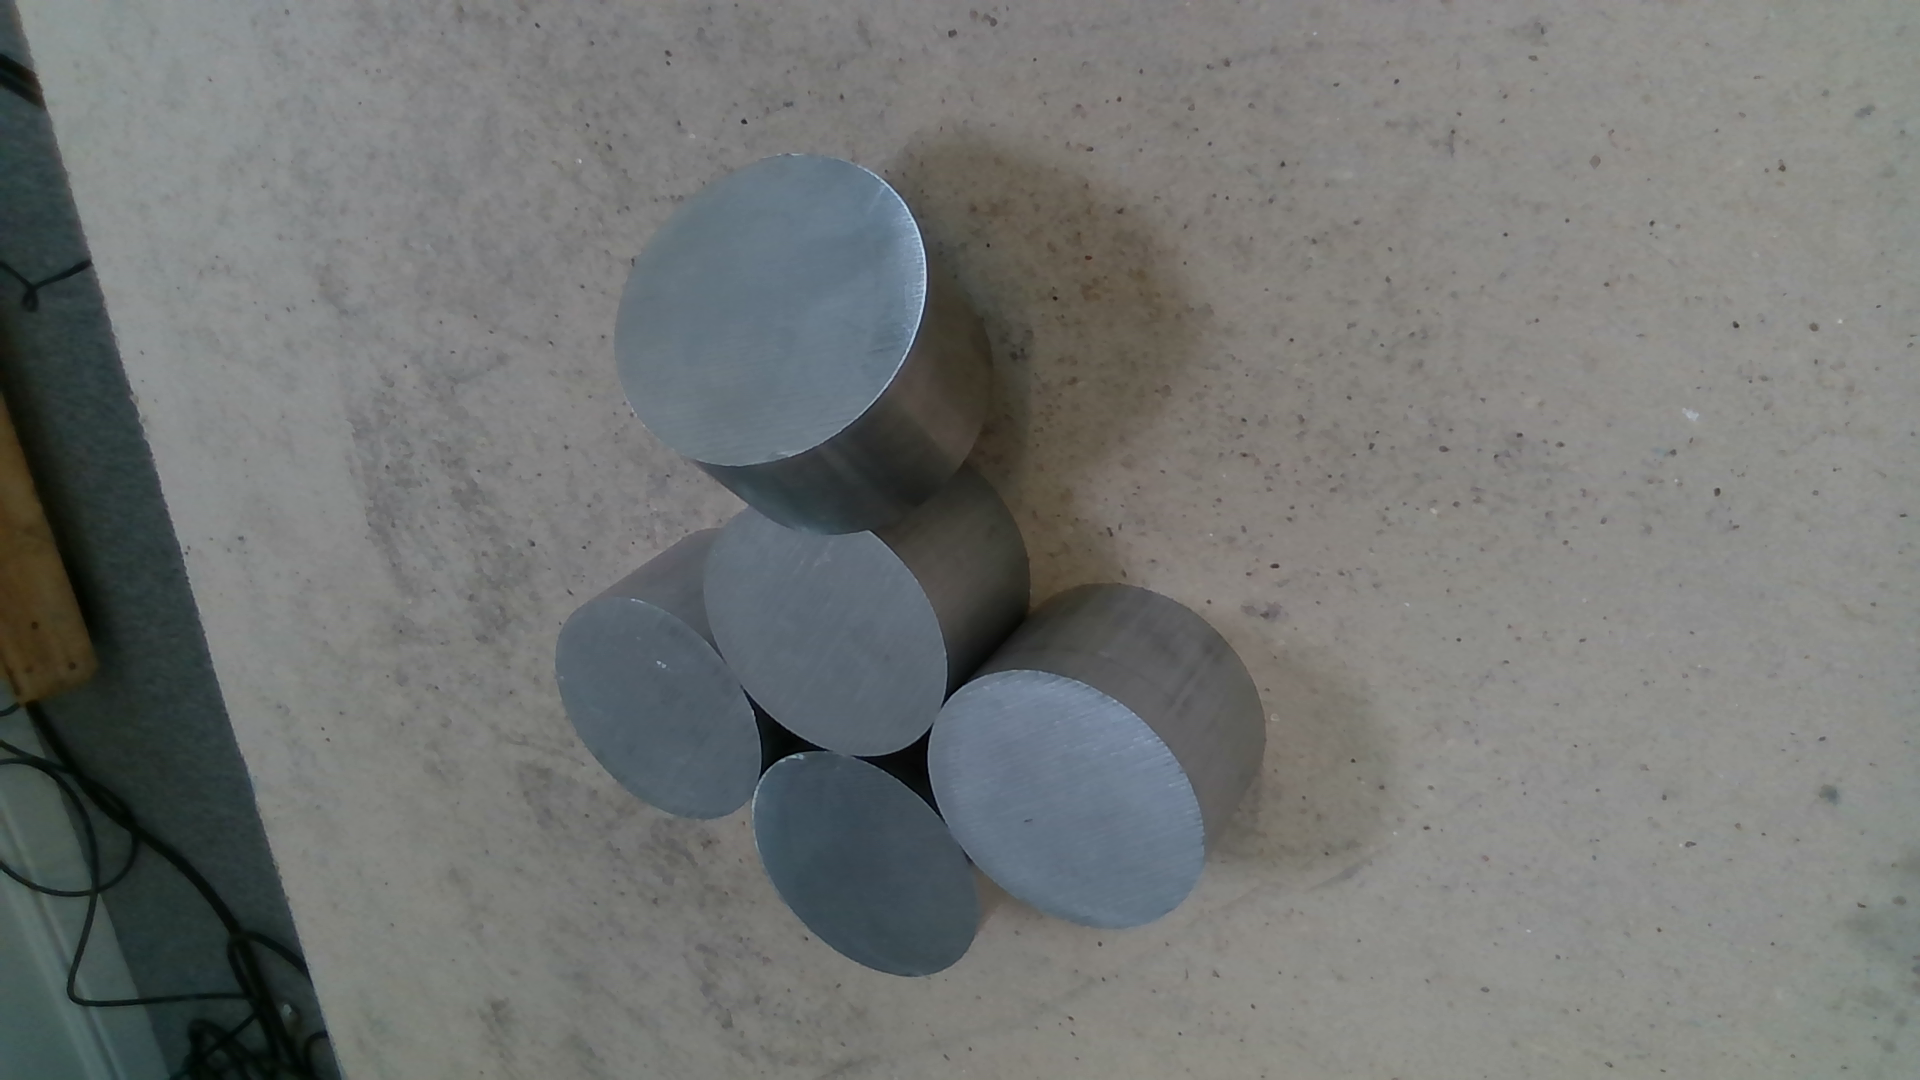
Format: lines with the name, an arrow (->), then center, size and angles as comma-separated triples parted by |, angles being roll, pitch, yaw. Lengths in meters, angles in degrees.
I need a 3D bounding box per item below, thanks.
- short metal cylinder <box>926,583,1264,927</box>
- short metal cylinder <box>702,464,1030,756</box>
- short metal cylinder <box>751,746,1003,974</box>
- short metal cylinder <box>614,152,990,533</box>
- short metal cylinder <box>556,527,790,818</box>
short metal cylinder -> 0.038, 0.059, 0.382 | 0.080, 0.050, 0.080 | 15, 122, 25
short metal cylinder -> -0.027, 0.015, 0.398 | 0.080, 0.050, 0.080 | 15, 122, 25
short metal cylinder -> -0.018, 0.087, 0.432 | 0.080, 0.050, 0.080 | 15, 122, 25
short metal cylinder -> -0.038, -0.048, 0.344 | 0.080, 0.050, 0.080 | -6, 70, 18
short metal cylinder -> -0.083, 0.042, 0.447 | 0.080, 0.050, 0.080 | 15, 122, 25
